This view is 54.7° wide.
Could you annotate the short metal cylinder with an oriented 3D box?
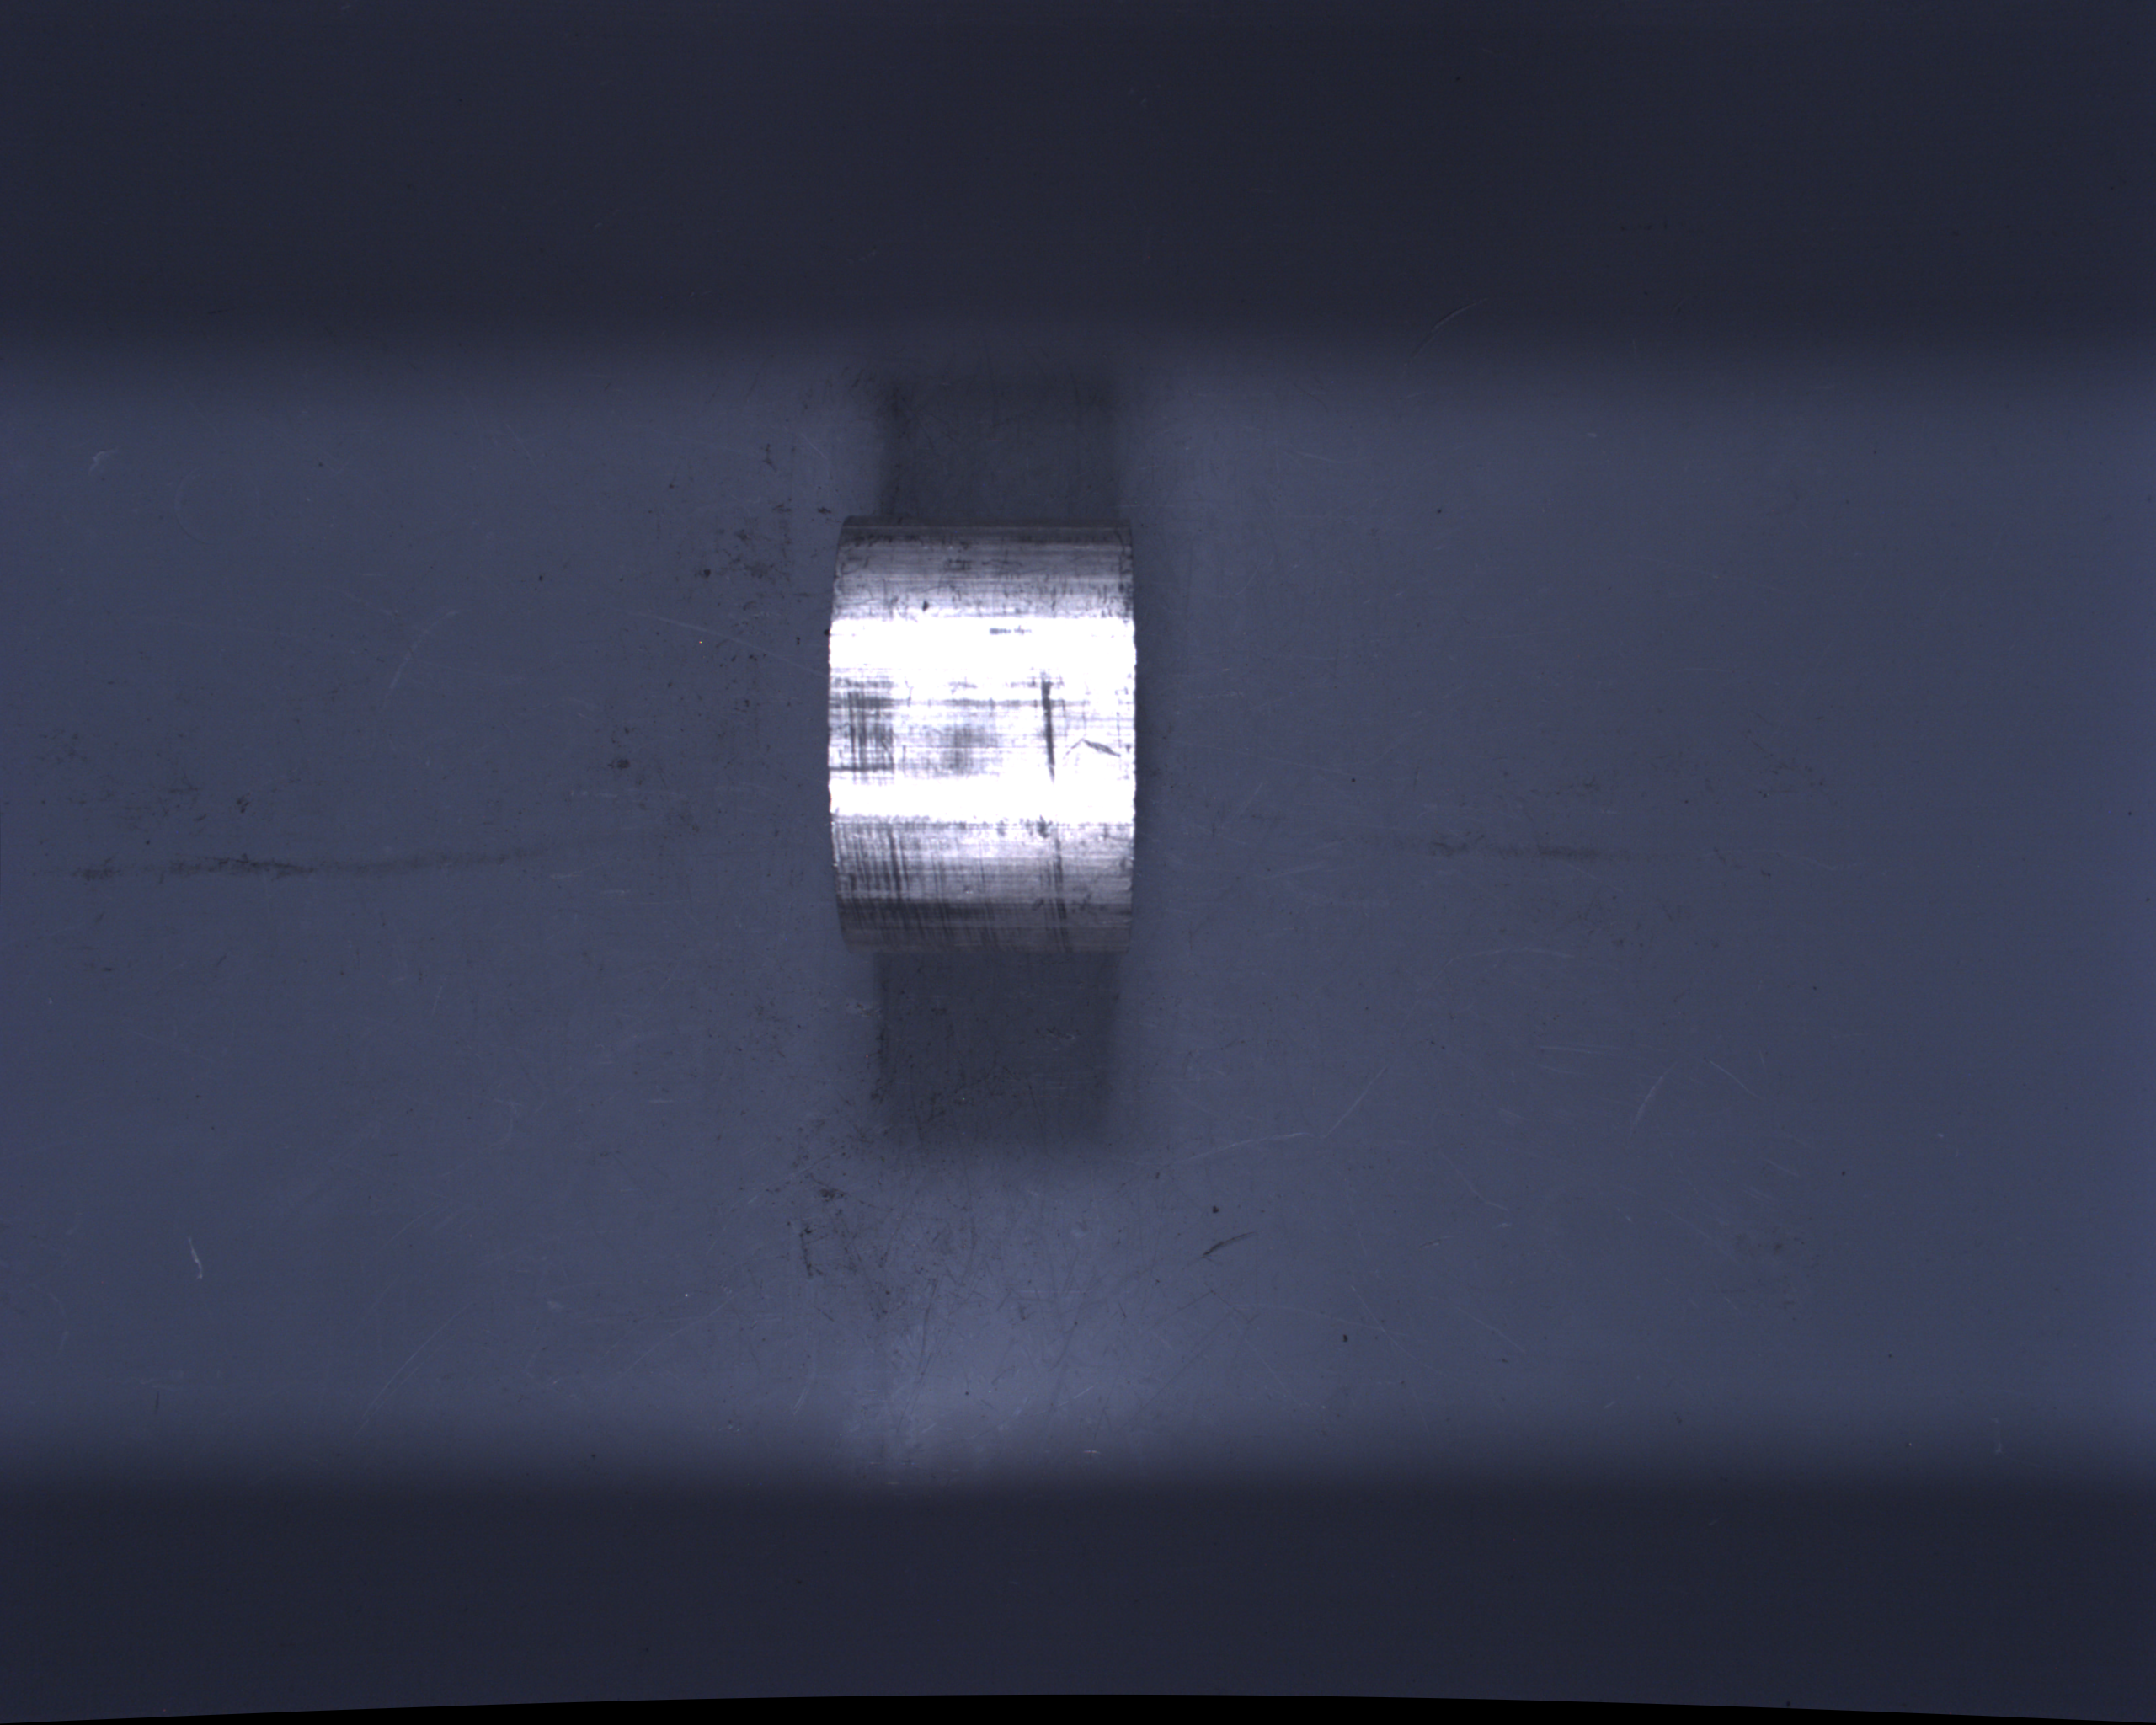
[{"bbox_3d":[-0.016,-0.023,0.381,0.050,0.080,0.079,0,90,0],"label":"short metal cylinder"}]
